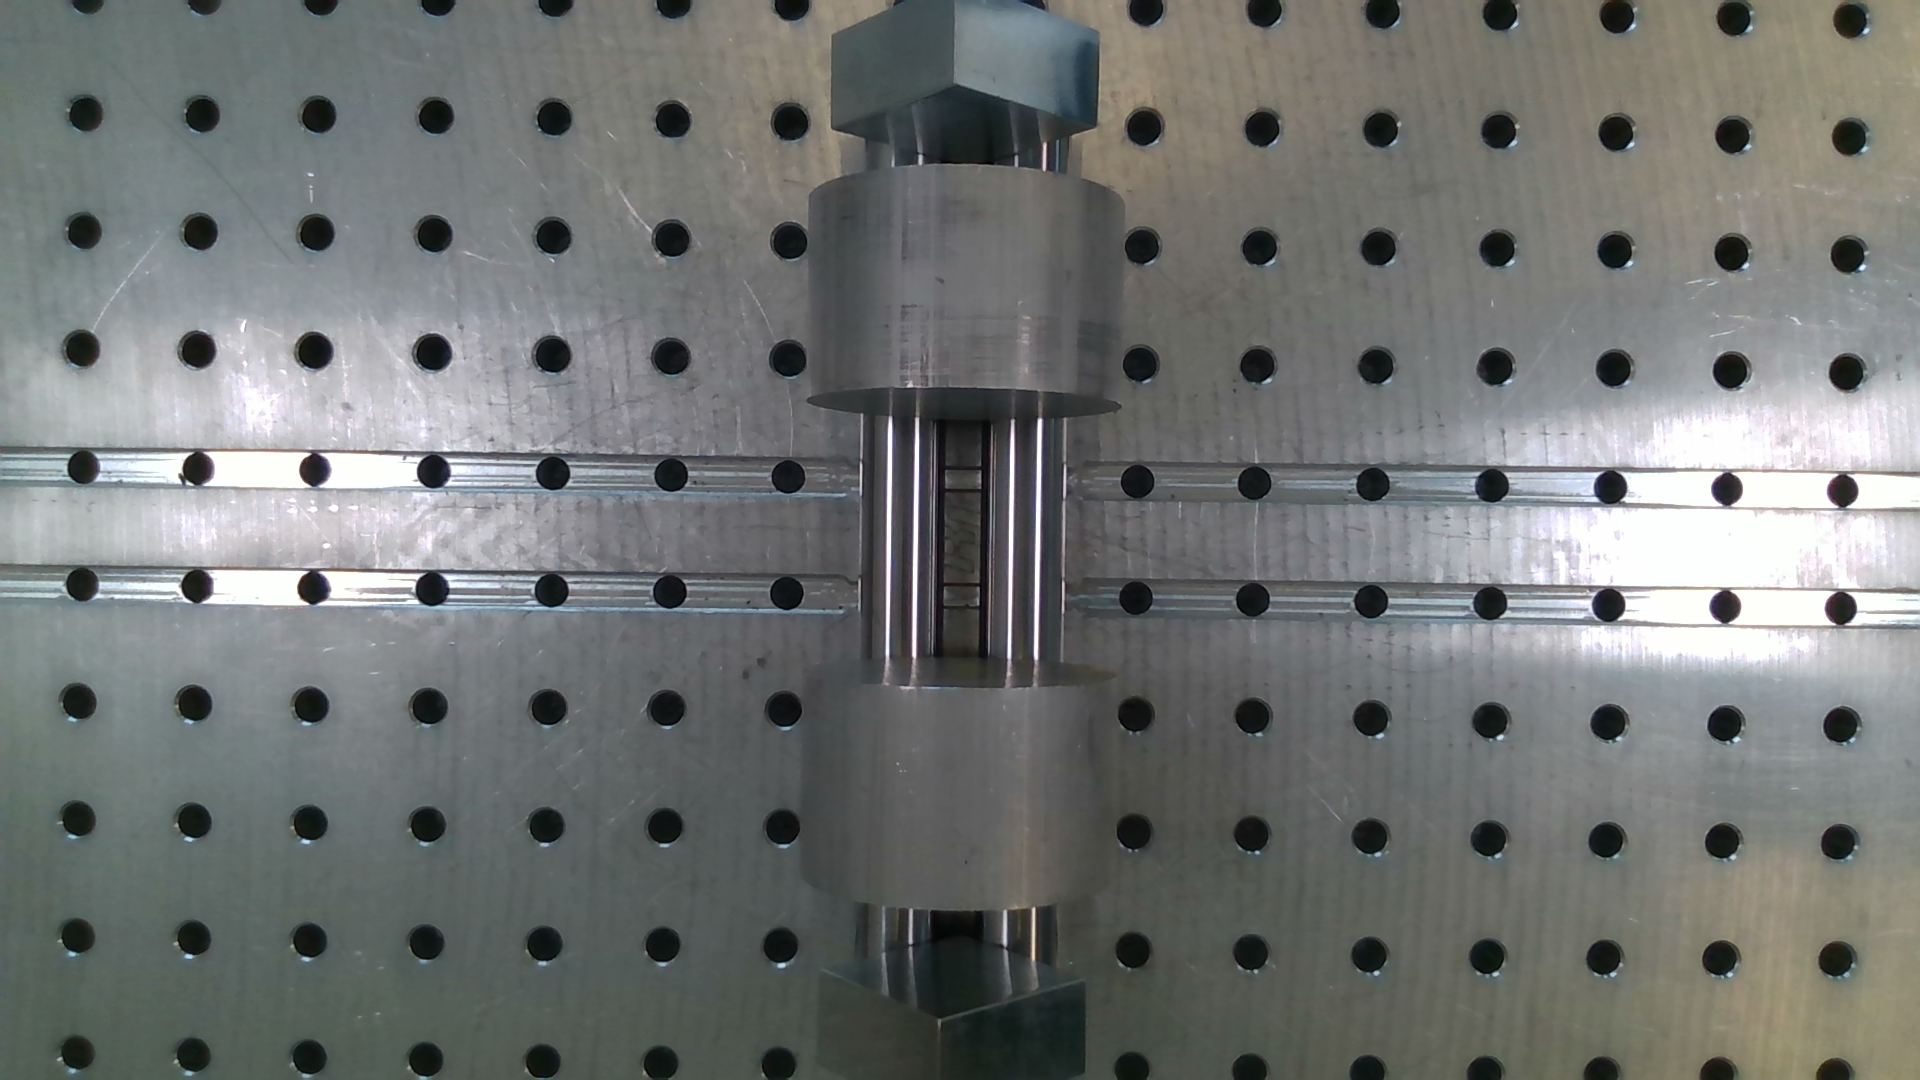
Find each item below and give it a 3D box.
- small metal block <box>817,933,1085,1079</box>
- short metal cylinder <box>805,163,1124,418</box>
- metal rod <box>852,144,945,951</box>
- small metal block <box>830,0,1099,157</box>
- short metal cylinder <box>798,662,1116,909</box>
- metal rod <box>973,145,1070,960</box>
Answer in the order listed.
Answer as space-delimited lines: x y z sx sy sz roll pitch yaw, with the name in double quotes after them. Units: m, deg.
-0.002 0.126 0.363 0.050 0.050 0.025 1 89 -41 "small metal block"
0.001 -0.059 0.348 0.080 0.080 0.050 1 90 0 "short metal cylinder"
-0.017 0.004 0.398 0.025 0.025 0.300 1 90 0 "metal rod"
0.001 -0.121 0.362 0.050 0.050 0.025 1 89 -42 "small metal block"
0.000 0.058 0.349 0.080 0.080 0.050 1 90 0 "short metal cylinder"
0.018 0.007 0.398 0.025 0.025 0.300 1 90 0 "metal rod"
